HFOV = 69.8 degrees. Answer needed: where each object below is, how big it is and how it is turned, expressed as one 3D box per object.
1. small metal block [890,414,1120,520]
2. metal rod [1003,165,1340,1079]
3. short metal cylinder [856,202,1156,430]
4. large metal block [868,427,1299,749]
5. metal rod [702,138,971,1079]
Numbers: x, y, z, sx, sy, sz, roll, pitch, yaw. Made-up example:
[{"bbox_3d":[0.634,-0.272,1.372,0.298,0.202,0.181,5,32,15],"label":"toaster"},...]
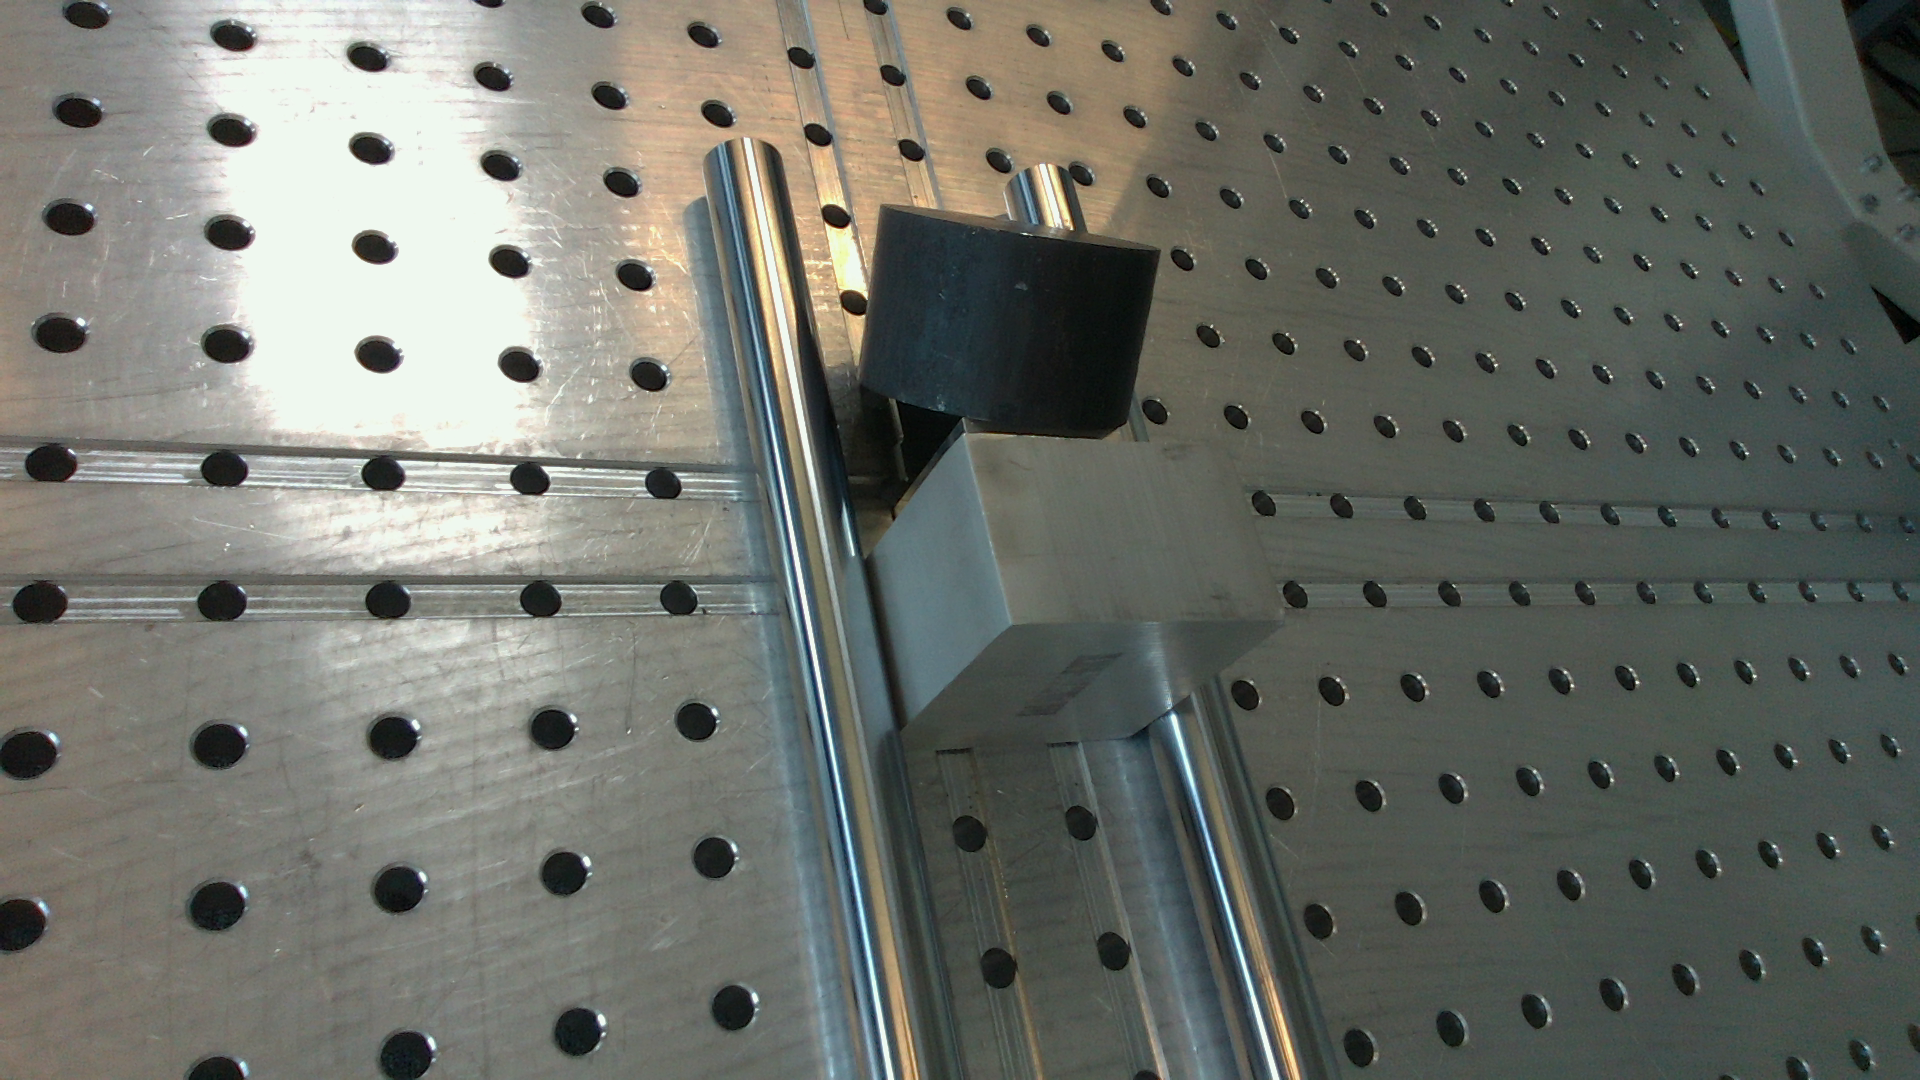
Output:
[{"bbox_3d":[0.015,-0.010,0.390,0.050,0.050,0.025,2,61,-28],"label":"small metal block"},{"bbox_3d":[0.056,0.009,0.417,0.025,0.025,0.300,2,61,-27],"label":"metal rod"},{"bbox_3d":[0.013,-0.065,0.396,0.080,0.050,0.080,9,15,-2],"label":"short metal cylinder"},{"bbox_3d":[0.025,0.015,0.359,0.080,0.080,0.050,1,61,-28],"label":"large metal block"},{"bbox_3d":[-0.036,0.016,0.363,0.025,0.025,0.300,1,61,-28],"label":"metal rod"}]
